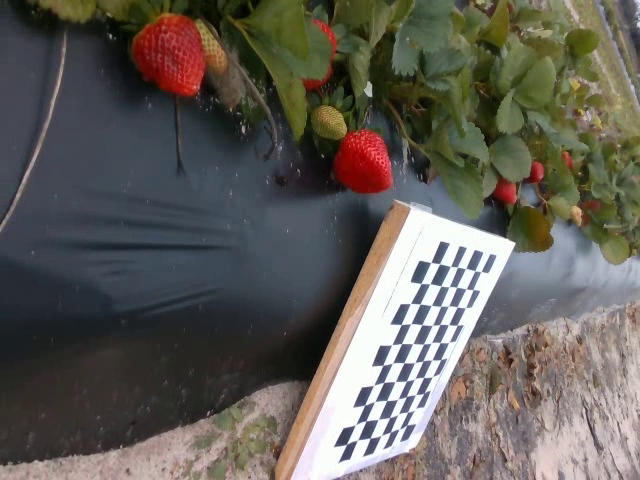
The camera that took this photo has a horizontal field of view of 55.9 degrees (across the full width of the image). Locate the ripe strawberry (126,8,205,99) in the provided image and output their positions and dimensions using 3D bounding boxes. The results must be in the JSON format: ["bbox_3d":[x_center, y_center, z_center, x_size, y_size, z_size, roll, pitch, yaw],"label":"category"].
[{"bbox_3d":[-0.076,-0.100,0.324,0.043,0.052,0.041,-12,-12,-42],"label":"ripe strawberry"}]

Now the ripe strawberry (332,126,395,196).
[{"bbox_3d":[0.040,-0.058,0.481,0.057,0.056,0.065,-22,43,-19],"label":"ripe strawberry"}]
